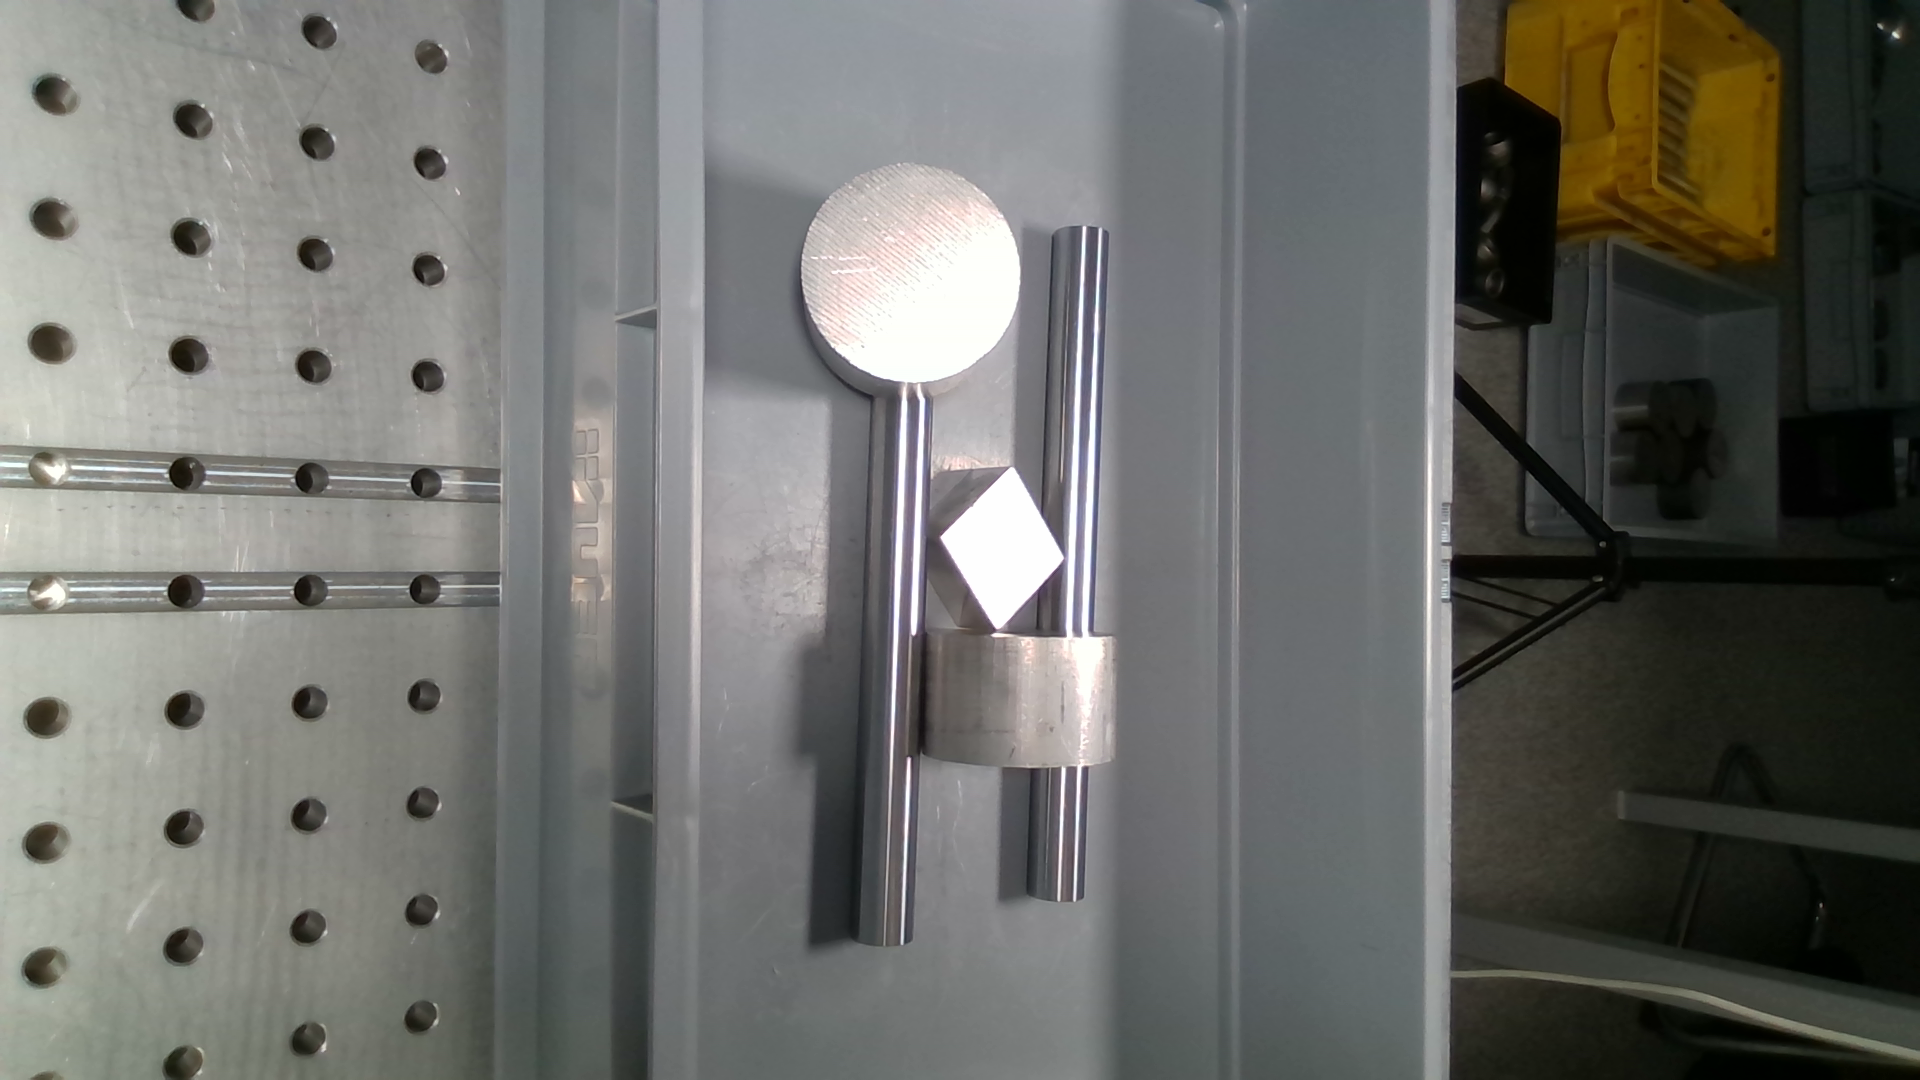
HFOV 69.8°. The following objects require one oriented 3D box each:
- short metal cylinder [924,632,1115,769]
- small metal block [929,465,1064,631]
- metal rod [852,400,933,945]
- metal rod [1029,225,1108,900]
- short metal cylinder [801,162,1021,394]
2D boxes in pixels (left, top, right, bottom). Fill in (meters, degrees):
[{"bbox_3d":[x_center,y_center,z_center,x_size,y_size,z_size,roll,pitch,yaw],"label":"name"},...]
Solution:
[{"bbox_3d":[0.025,0.063,0.567,0.080,0.080,0.050,2,88,-40],"label":"short metal cylinder"},{"bbox_3d":[0.011,0.003,0.590,0.050,0.025,0.050,-46,117,-31],"label":"small metal block"},{"bbox_3d":[-0.026,0.010,0.559,0.025,0.025,0.300,4,88,-40],"label":"metal rod"},{"bbox_3d":[0.049,0.009,0.623,0.025,0.025,0.300,4,88,-40],"label":"metal rod"},{"bbox_3d":[-0.020,-0.097,0.525,0.080,0.050,0.080,0,88,-6],"label":"short metal cylinder"}]
